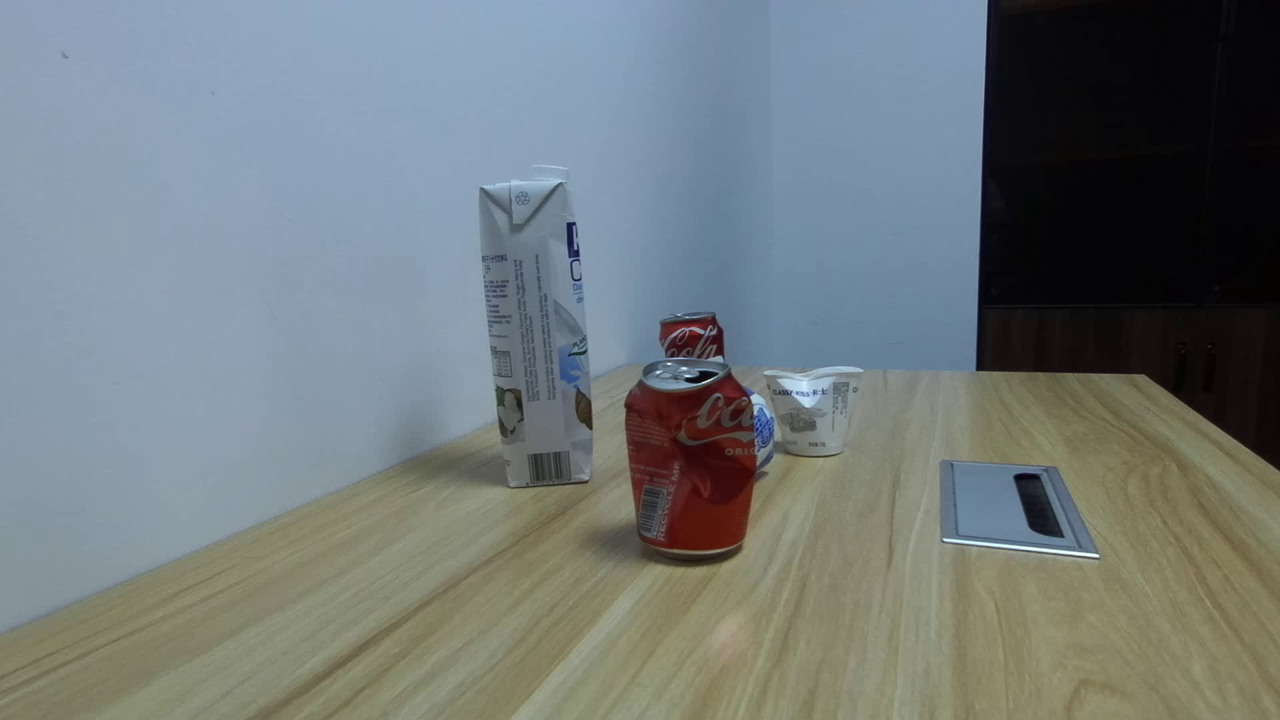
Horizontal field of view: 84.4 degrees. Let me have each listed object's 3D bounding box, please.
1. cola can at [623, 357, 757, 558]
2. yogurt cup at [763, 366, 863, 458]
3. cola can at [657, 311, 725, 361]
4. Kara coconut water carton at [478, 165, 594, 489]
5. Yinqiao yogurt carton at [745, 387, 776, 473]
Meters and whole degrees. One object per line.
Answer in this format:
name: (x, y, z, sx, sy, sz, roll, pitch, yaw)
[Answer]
cola can: (0.028, 0.056, 0.421, 0.066, 0.112, 0.069, -9, 14, -26)
yogurt cup: (0.149, 0.042, 0.610, 0.076, 0.071, 0.053, -7, 12, -23)
cola can: (0.050, 0.014, 0.673, 0.065, 0.117, 0.072, 2, 10, 21)
Kara coconut water carton: (-0.080, -0.026, 0.562, 0.075, 0.245, 0.077, -4, 10, -1)
Yinqiao yogurt carton: (0.059, 0.044, 0.549, 0.080, 0.097, 0.075, -5, 7, 31)
